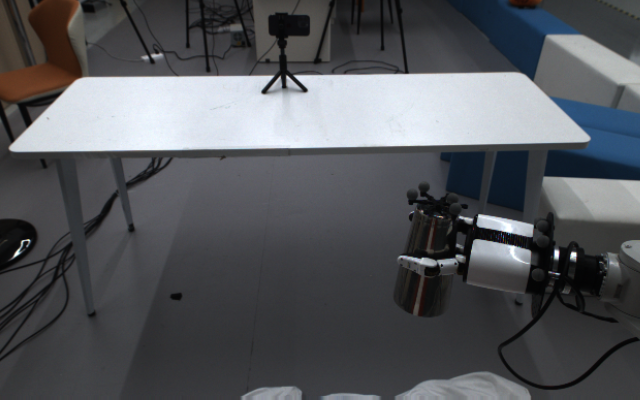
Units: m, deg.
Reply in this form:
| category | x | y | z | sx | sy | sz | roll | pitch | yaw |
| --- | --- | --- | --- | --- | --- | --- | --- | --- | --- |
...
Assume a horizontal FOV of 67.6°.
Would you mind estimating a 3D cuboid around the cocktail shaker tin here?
| category | x | y | z | sx | sy | sz | roll | pitch | yaw |
| --- | --- | --- | --- | --- | --- | --- | --- | --- | --- |
| cocktail shaker tin | 0.173 | 0.087 | 0.768 | 0.093 | 0.170 | 0.093 | 3 | 26 | -1 |
